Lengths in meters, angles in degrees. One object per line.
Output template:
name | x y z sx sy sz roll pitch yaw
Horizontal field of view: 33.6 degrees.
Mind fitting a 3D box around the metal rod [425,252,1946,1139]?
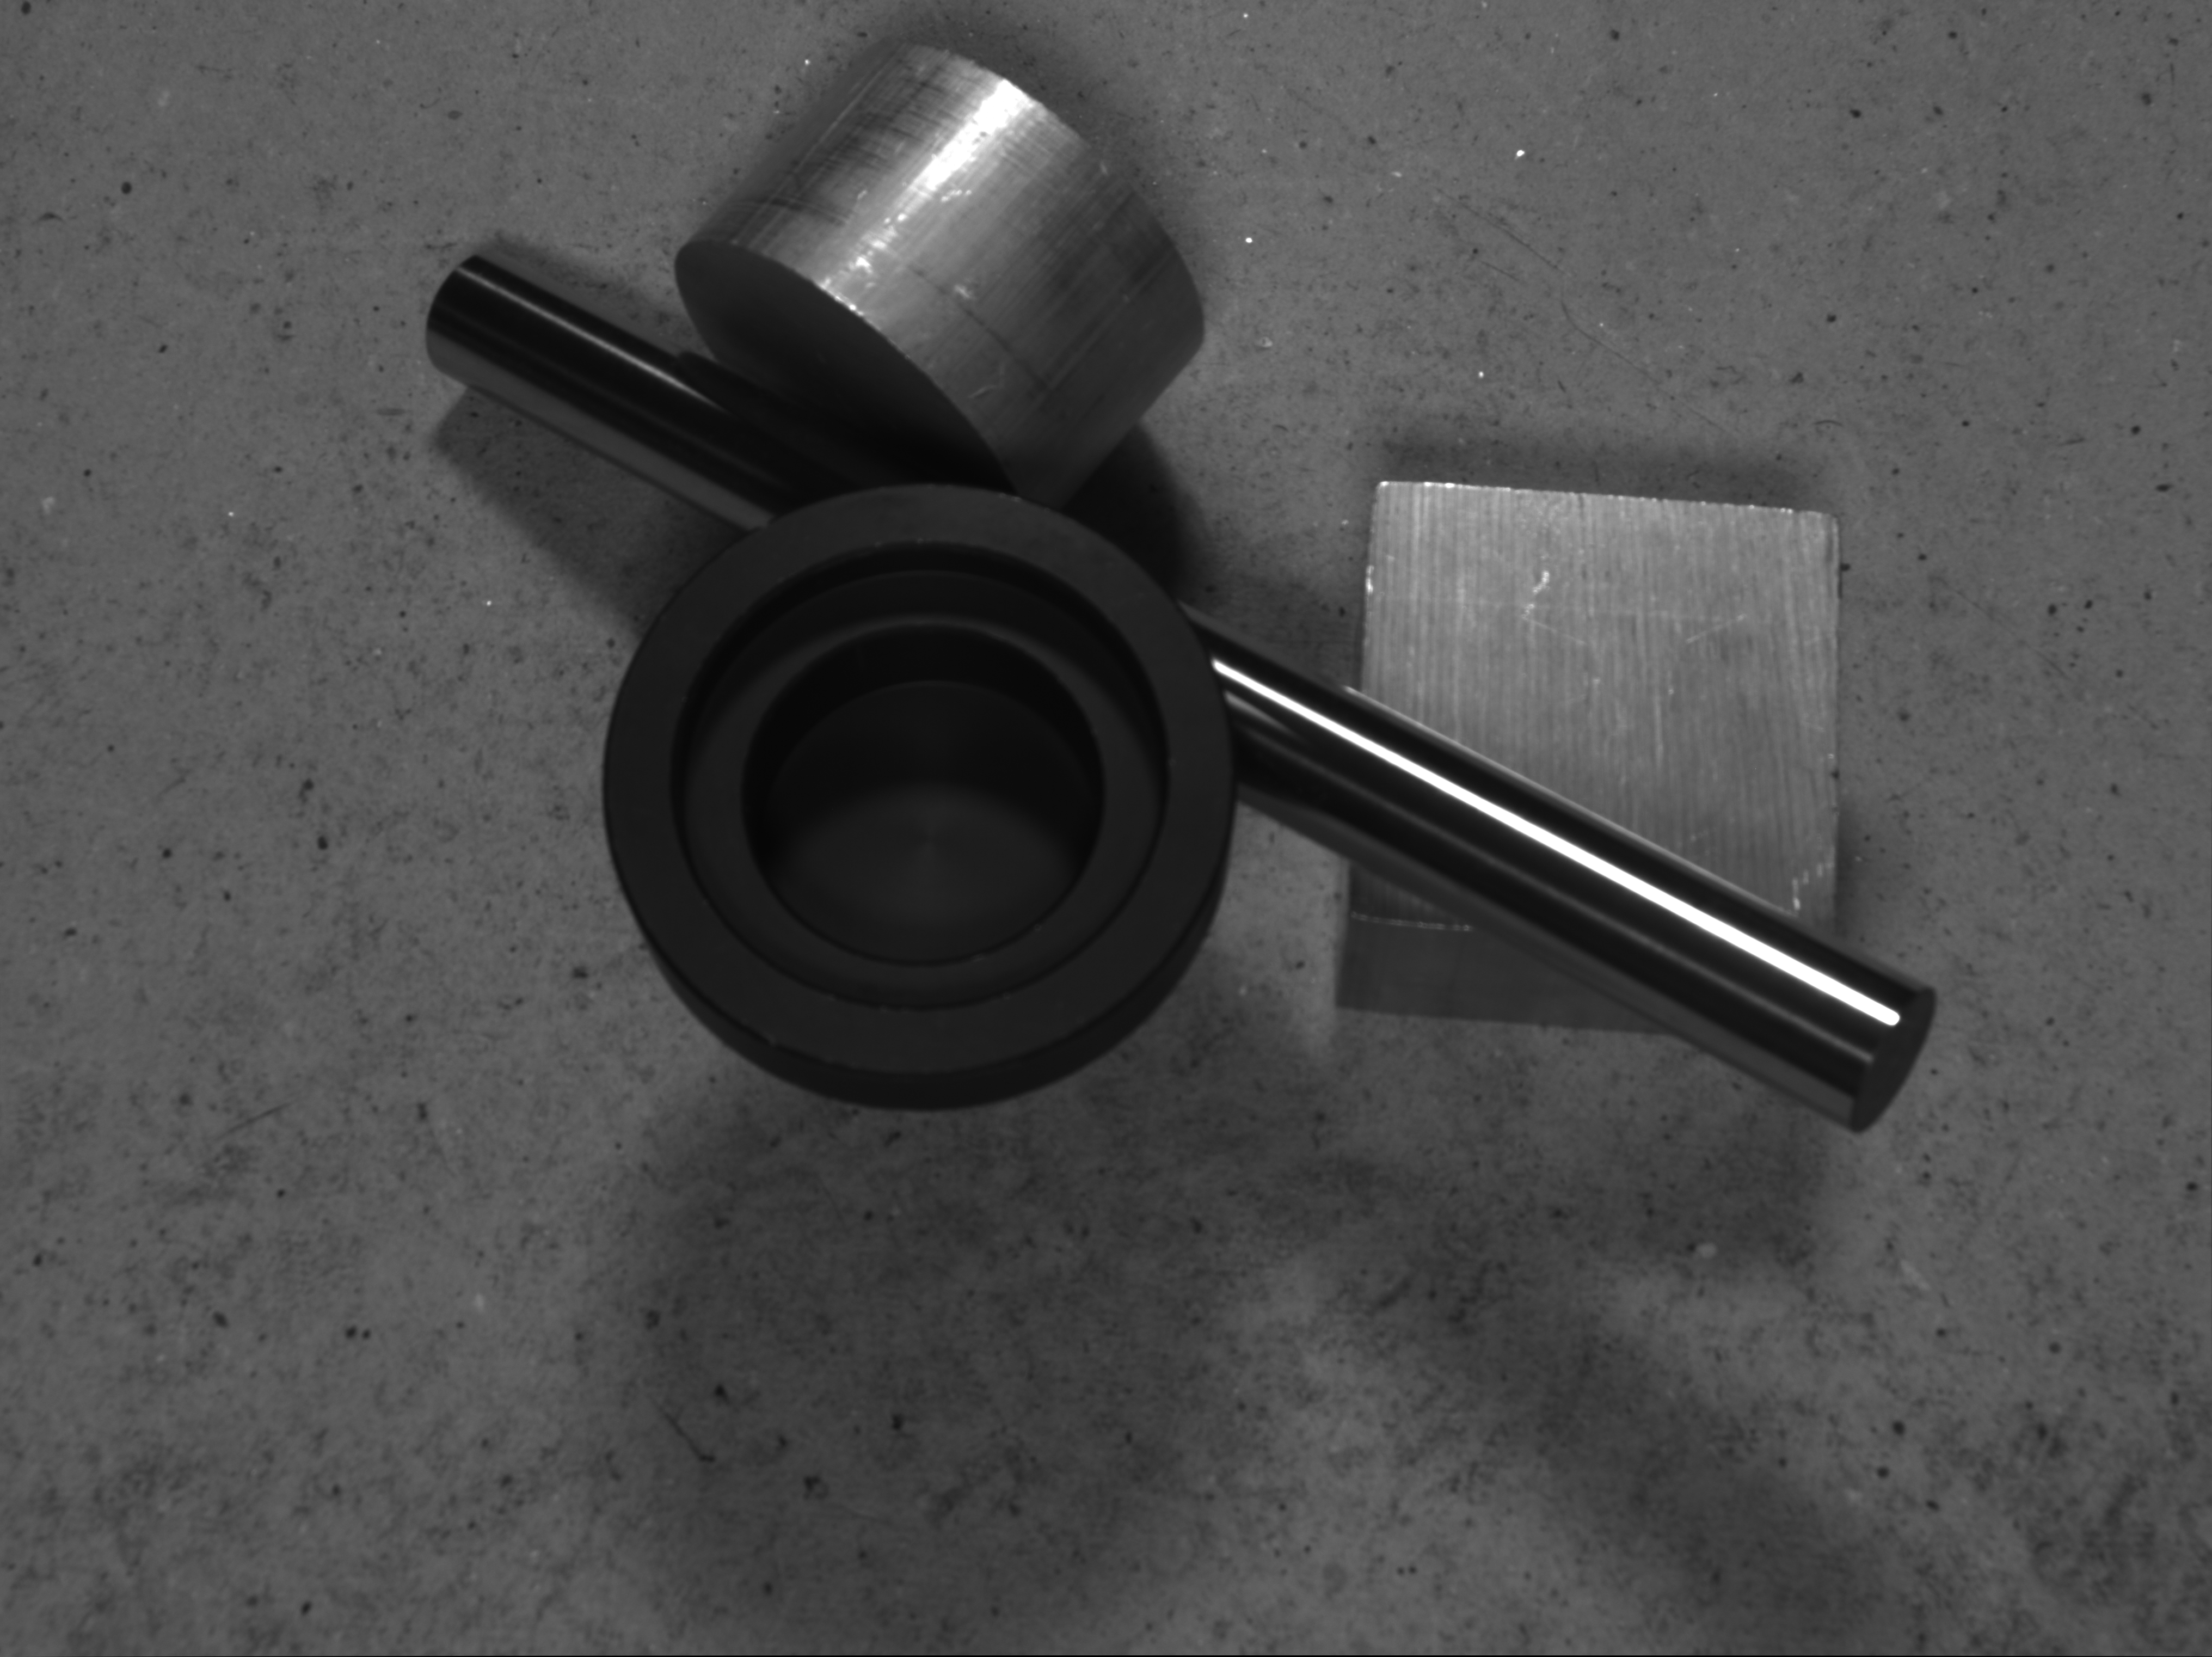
metal rod | 0.002 -0.030 0.616 0.299 0.025 0.025 29 72 25

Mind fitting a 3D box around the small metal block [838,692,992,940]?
small metal block | -0.032 0.003 0.631 0.025 0.050 0.050 -2 70 0

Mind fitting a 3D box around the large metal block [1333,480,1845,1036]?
large metal block | 0.083 -0.011 0.636 0.080 0.050 0.080 4 70 2

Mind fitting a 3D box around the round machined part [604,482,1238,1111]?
round machined part | -0.028 -0.002 0.584 0.098 0.042 0.098 0 71 0

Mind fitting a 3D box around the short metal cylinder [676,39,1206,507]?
short metal cylinder | -0.029 -0.093 0.650 0.080 0.080 0.050 36 74 12
